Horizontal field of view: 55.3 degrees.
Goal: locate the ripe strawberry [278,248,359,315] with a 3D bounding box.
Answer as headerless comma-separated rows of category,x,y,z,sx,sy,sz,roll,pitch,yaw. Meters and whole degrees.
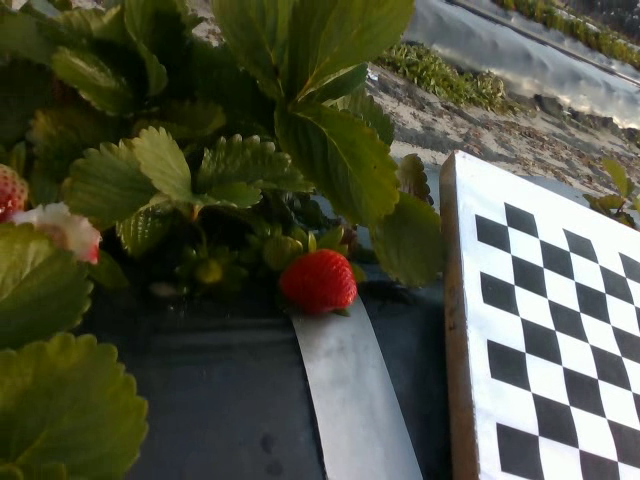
ripe strawberry,0.006,0.021,0.295,0.050,0.036,0.055,22,27,-22
